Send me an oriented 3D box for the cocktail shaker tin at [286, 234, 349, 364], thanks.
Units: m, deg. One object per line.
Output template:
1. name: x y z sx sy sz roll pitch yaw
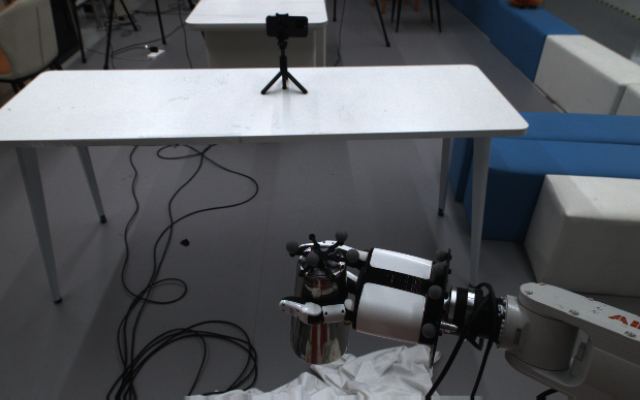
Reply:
1. cocktail shaker tin: 0.005 0.145 0.698 0.093 0.170 0.093 1 39 0
